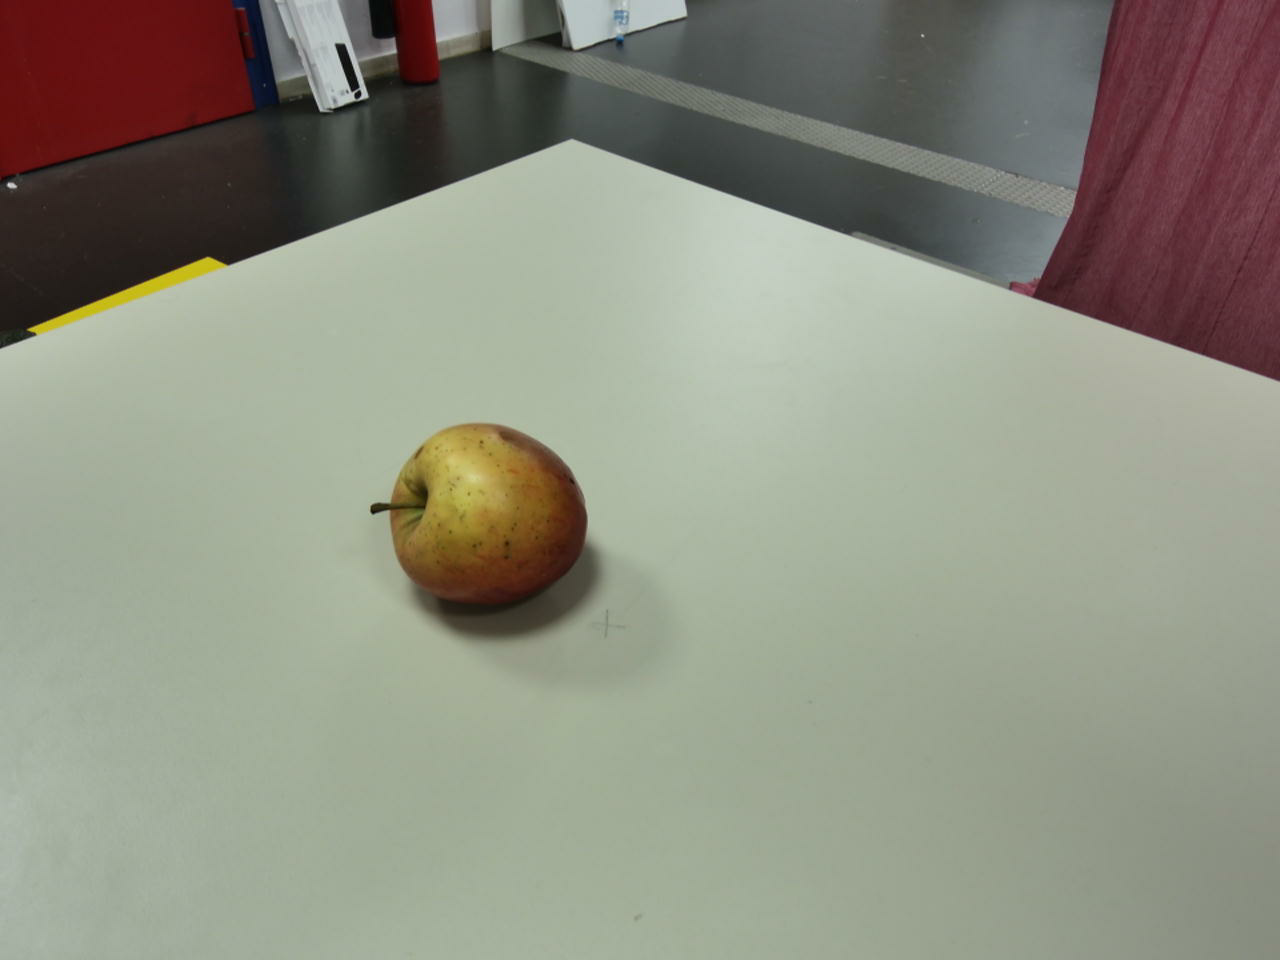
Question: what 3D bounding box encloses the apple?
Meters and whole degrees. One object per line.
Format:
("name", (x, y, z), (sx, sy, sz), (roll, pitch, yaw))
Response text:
("apple", (-0.072, 0.016, 0.468), (0.093, 0.084, 0.086), (4, 37, 3))
